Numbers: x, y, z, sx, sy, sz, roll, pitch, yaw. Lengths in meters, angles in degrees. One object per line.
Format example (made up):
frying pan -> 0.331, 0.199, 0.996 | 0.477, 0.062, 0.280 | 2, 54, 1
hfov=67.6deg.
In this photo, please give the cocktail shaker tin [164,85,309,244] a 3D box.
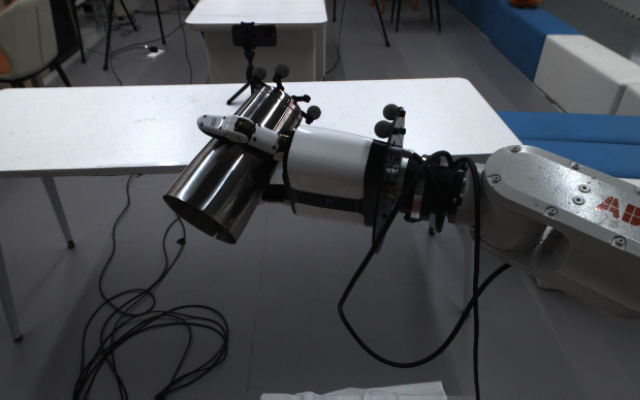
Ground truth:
cocktail shaker tin -> -0.087, -0.049, 0.549 | 0.093, 0.093, 0.170 | 20, 67, 24
